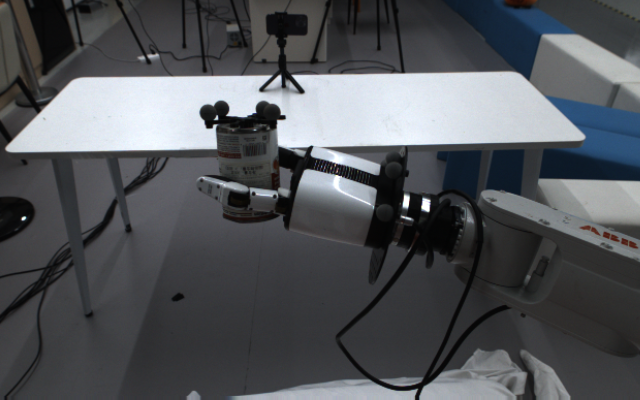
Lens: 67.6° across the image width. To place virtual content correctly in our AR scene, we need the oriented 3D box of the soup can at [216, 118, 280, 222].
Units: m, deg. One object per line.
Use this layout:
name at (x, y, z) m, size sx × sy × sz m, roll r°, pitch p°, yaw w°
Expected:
soup can at (-0.076, -0.032, 0.536) m, size 0.067 × 0.101 × 0.067 m, roll -1°, pitch 17°, yaw 0°
